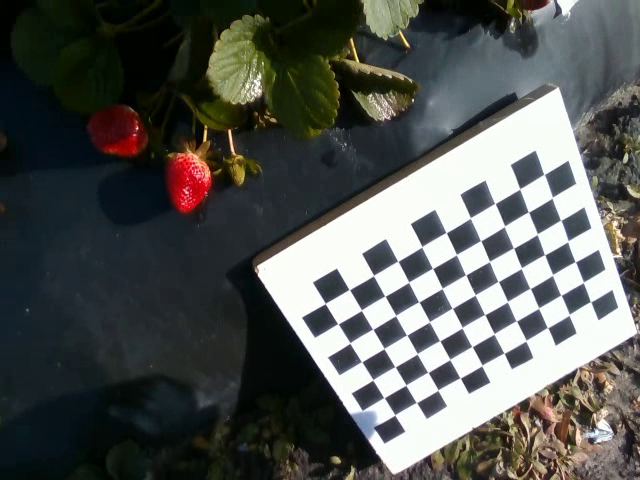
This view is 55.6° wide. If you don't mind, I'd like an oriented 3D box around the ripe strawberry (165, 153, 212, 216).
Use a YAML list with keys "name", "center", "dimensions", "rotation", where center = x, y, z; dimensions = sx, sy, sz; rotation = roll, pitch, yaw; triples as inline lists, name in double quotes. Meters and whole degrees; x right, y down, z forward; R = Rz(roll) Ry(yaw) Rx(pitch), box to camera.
- name: "ripe strawberry"
  center: [-0.110, -0.046, 0.482]
  dimensions: [0.043, 0.053, 0.039]
  rotation: [12, -25, -16]

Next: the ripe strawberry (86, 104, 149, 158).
- name: "ripe strawberry"
  center: [-0.165, -0.087, 0.493]
  dimensions: [0.054, 0.048, 0.039]
  rotation: [-23, 23, -30]
